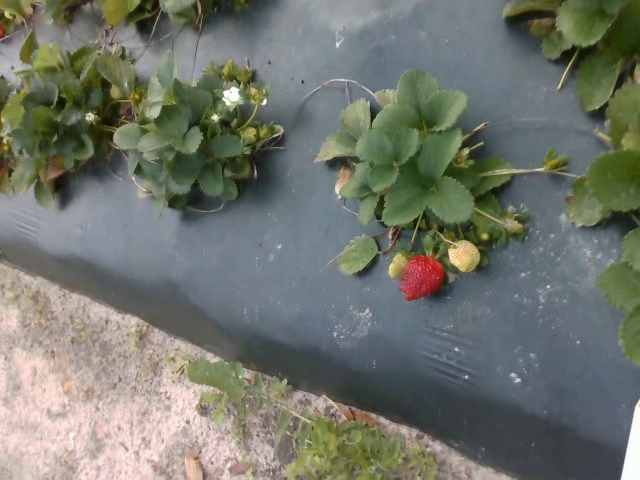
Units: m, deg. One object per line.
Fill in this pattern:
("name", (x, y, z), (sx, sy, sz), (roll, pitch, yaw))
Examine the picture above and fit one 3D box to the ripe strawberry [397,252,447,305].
("ripe strawberry", (0.104, 0.045, 0.645), (0.046, 0.059, 0.046), (15, -33, 43))
